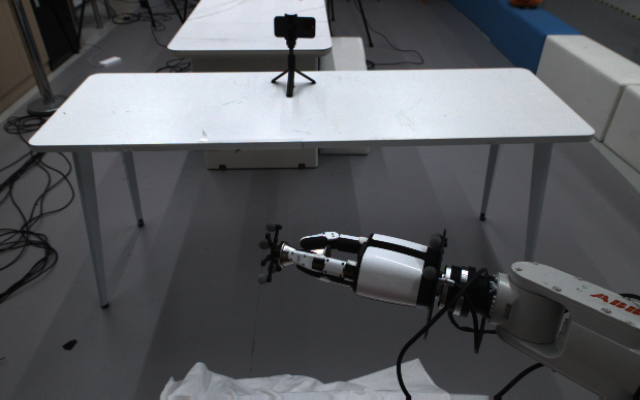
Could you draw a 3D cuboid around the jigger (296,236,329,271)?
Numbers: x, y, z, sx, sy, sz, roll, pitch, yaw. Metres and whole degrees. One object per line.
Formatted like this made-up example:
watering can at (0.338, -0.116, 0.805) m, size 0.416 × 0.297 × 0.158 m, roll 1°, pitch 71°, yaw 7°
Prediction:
jigger at (-0.015, 0.082, 0.721) m, size 0.071 × 0.043 × 0.043 m, roll 5°, pitch 34°, yaw 15°
